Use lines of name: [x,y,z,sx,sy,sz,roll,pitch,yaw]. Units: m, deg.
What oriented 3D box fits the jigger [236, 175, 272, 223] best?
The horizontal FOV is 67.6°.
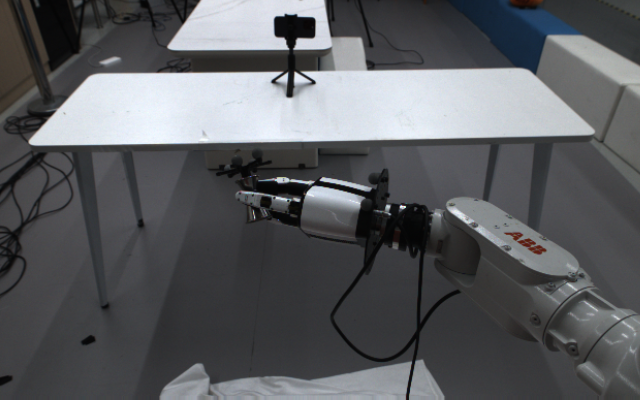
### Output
jigger: [-0.103,0.000,0.755,0.043,0.071,0.043,-17,-4,-1]
